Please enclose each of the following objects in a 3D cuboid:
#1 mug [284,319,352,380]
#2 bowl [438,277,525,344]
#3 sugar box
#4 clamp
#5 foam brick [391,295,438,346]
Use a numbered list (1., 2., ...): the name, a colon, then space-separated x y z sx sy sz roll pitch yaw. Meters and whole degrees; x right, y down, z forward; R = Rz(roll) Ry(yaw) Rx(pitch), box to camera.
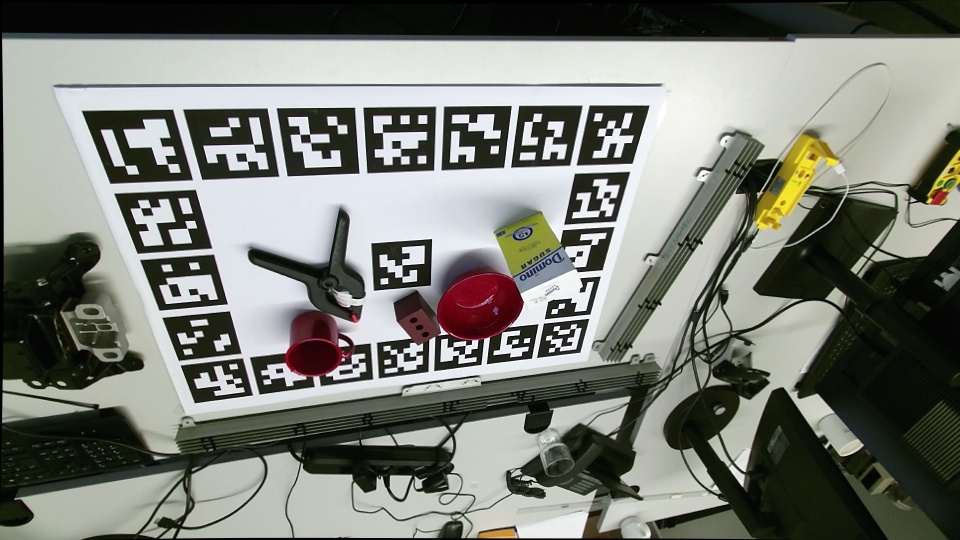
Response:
1. mug: -0.280 0.142 0.932 0.118 0.081 0.093 20 116 -24
2. bowl: -0.002 0.067 0.983 0.162 0.055 0.161 -8 126 -11
3. sugar box: 0.094 -0.015 0.878 0.093 0.176 0.045 -25 126 2
4. clamp: -0.244 0.024 0.882 0.166 0.036 0.203 -25 127 -1
5. foam brick: -0.119 0.095 0.976 0.053 0.051 0.078 -27 127 2
